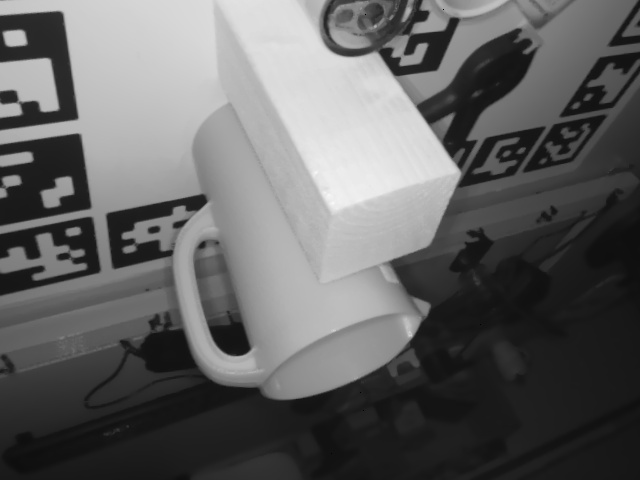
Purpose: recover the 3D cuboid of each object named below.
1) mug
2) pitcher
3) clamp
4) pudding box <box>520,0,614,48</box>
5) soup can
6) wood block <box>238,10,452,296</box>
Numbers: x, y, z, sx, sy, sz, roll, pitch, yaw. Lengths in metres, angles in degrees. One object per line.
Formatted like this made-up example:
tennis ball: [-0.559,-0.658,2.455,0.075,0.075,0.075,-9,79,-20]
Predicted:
mug: [0.104,-0.211,0.519,0.092,0.081,0.118,-39,149,25]
pitcher: [-0.033,0.015,0.601,0.191,0.242,0.131,-15,150,-24]
clamp: [0.163,-0.133,0.742,0.123,0.036,0.163,16,129,-40]
pudding box: [0.215,-0.229,0.625,0.089,0.038,0.115,-43,147,20]
soup can: [0.020,-0.172,0.491,0.068,0.102,0.067,-20,147,-13]
wood block: [0.007,-0.074,0.526,0.091,0.206,0.090,-11,147,-18]
